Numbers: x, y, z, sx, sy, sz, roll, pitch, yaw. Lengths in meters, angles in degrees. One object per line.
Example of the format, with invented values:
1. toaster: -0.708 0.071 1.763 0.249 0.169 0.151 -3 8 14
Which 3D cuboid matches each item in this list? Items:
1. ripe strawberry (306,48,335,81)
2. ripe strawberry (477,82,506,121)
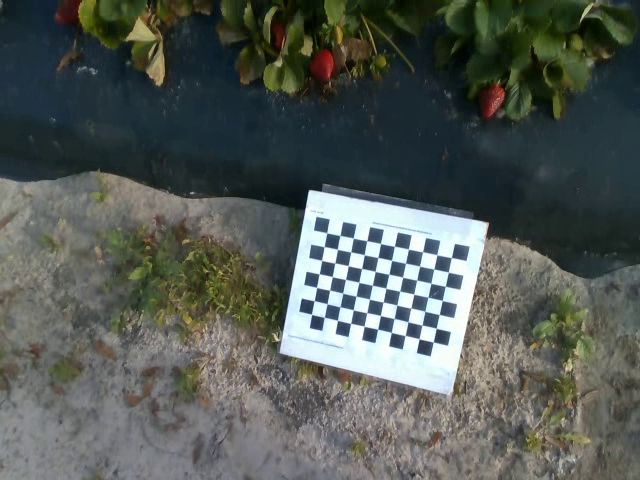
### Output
1. ripe strawberry: 0.002 -0.170 0.546 0.031 0.030 0.026 -27 -25 8
2. ripe strawberry: 0.171 -0.127 0.523 0.029 0.036 0.021 13 -7 14
